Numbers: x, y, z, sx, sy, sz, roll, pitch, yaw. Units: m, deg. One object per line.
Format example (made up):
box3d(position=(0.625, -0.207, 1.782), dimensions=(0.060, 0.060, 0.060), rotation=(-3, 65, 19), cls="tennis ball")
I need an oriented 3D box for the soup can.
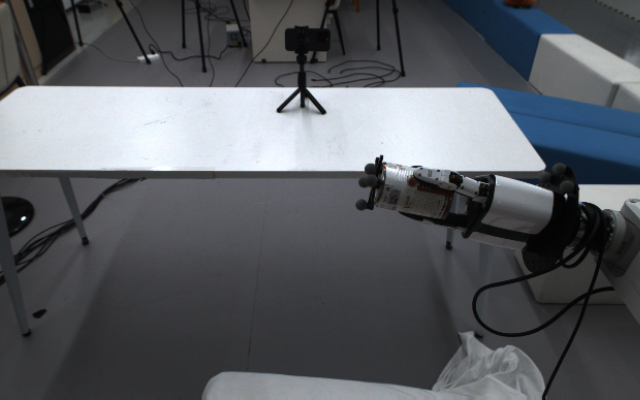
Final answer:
box3d(position=(0.135, -0.014, 0.696), dimensions=(0.101, 0.067, 0.067), rotation=(11, 35, -2), cls="soup can")
